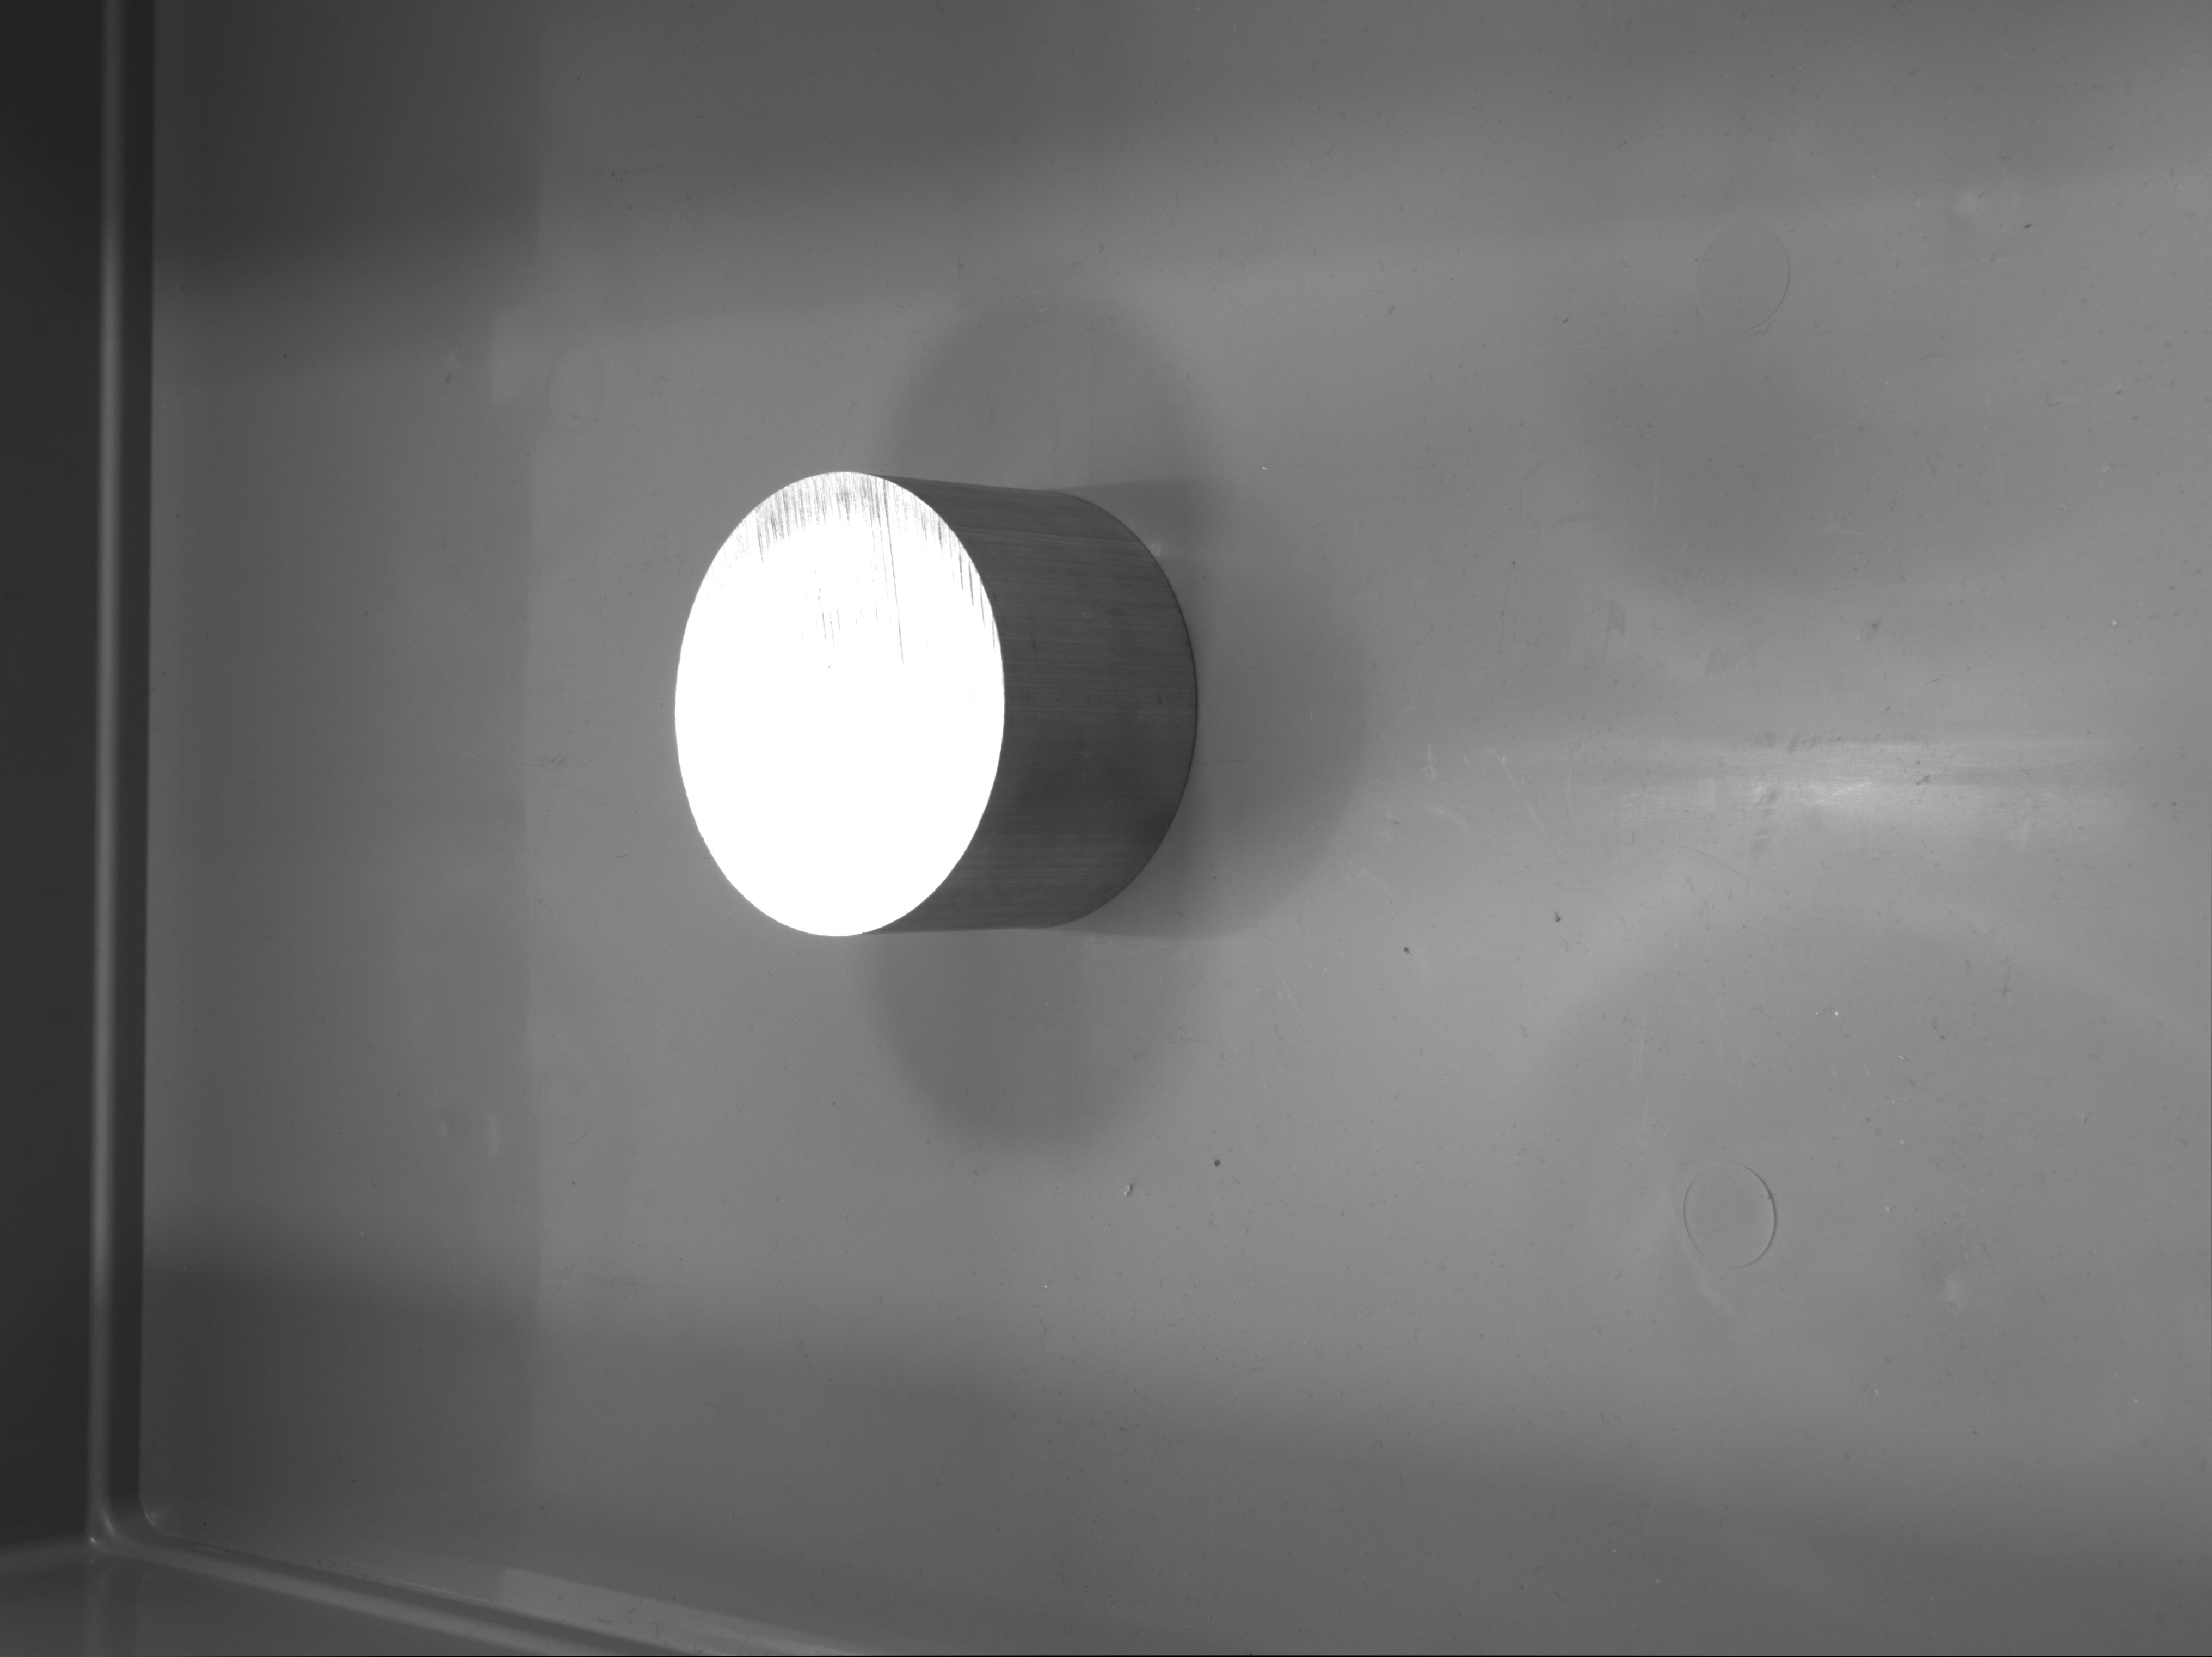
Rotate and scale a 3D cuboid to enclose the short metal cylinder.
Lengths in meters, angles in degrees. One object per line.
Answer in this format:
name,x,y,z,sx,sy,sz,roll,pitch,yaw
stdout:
short metal cylinder,-0.031,-0.021,0.653,0.080,0.050,0.080,0,90,40
